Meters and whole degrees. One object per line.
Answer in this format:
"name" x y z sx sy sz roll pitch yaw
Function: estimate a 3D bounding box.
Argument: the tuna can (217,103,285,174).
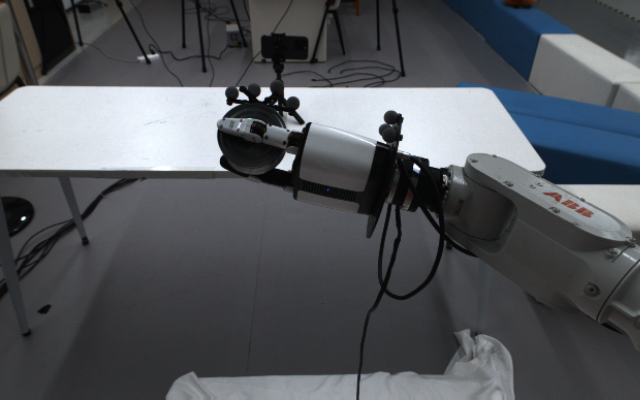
"tuna can" -0.084 -0.077 0.606 0.085 0.034 0.085 1 73 -3
